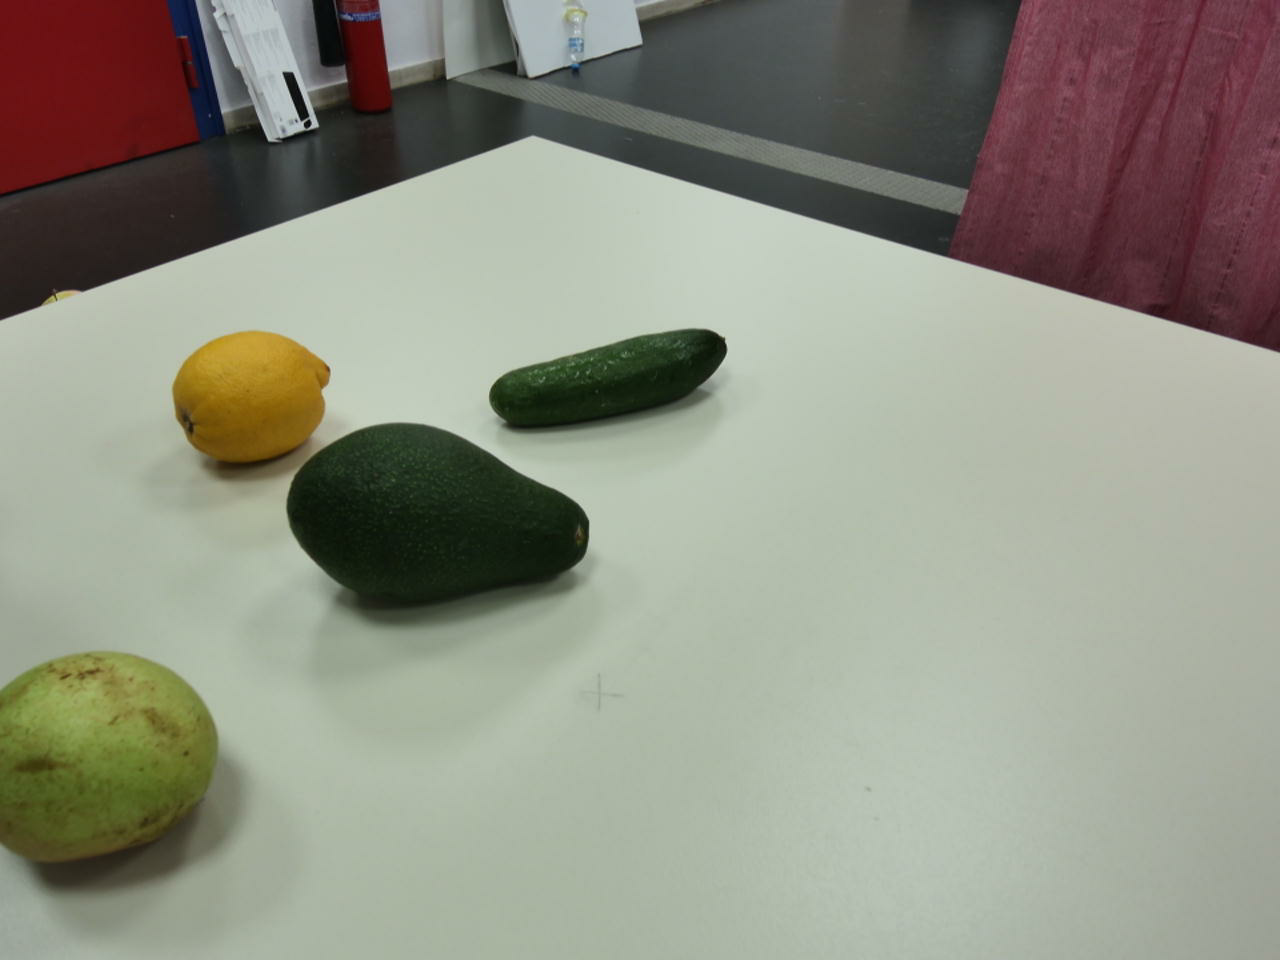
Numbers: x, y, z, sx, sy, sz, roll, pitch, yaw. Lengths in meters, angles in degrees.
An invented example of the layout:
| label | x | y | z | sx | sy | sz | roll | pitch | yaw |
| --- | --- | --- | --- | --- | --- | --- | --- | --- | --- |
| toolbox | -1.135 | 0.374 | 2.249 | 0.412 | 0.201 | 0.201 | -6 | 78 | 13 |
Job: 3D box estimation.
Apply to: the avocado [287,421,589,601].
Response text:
| label | x | y | z | sx | sy | sz | roll | pitch | yaw |
| --- | --- | --- | --- | --- | --- | --- | --- | --- | --- |
| avocado | -0.079 | 0.014 | 0.391 | 0.110 | 0.071 | 0.072 | 10 | 36 | 11 |
